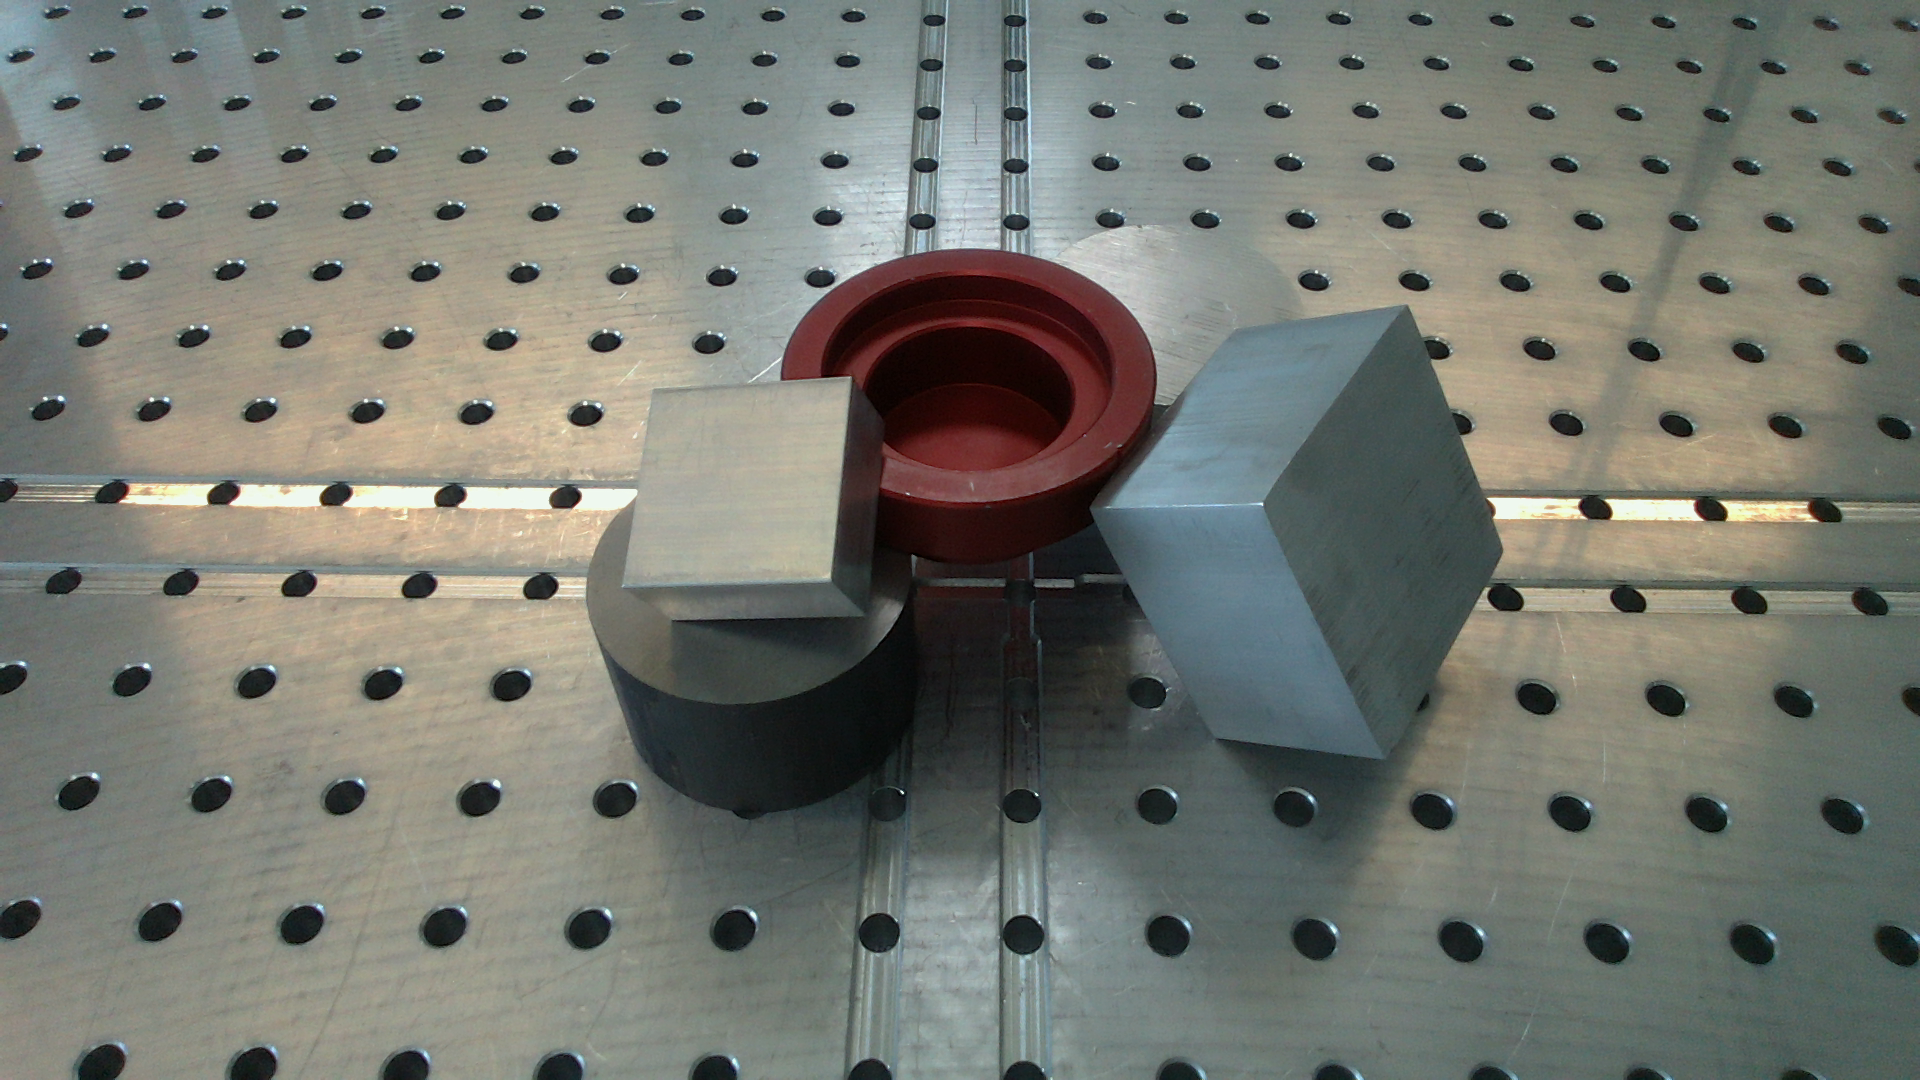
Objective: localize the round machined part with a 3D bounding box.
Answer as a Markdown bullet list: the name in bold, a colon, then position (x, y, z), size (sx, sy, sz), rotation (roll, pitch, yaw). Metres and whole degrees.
- **round machined part**: position (0.002, -0.033, 0.372), size (0.098, 0.042, 0.098), rotation (0, 50, 0)

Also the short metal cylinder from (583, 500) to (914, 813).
- **short metal cylinder**: position (-0.052, 0.023, 0.358), size (0.080, 0.050, 0.080), rotation (0, 50, 0)

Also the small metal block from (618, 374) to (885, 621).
- **small metal block**: position (-0.047, -0.009, 0.320), size (0.050, 0.025, 0.050), rotation (-2, 68, 14)

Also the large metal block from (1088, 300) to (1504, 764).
- **large metal block**: position (0.089, -0.002, 0.352), size (0.050, 0.080, 0.080), rotation (-1, 39, 47)

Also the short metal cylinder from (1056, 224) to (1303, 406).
- **short metal cylinder**: position (0.061, -0.052, 0.422), size (0.080, 0.050, 0.080), rotation (0, 50, 0)
